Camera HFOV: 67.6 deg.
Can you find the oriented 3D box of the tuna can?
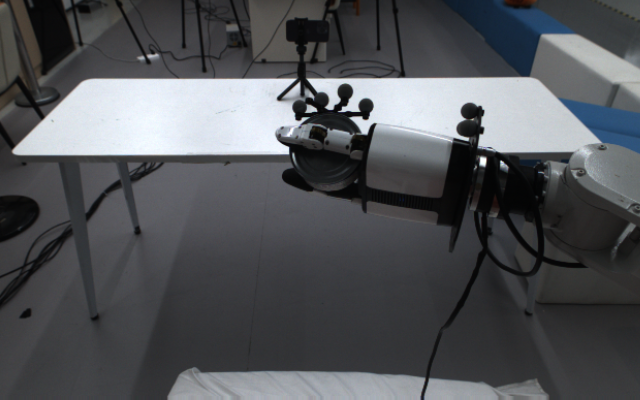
[{"bbox_3d":[0.013,-0.050,0.554,0.085,0.034,0.085,-3,73,10],"label":"tuna can"}]
